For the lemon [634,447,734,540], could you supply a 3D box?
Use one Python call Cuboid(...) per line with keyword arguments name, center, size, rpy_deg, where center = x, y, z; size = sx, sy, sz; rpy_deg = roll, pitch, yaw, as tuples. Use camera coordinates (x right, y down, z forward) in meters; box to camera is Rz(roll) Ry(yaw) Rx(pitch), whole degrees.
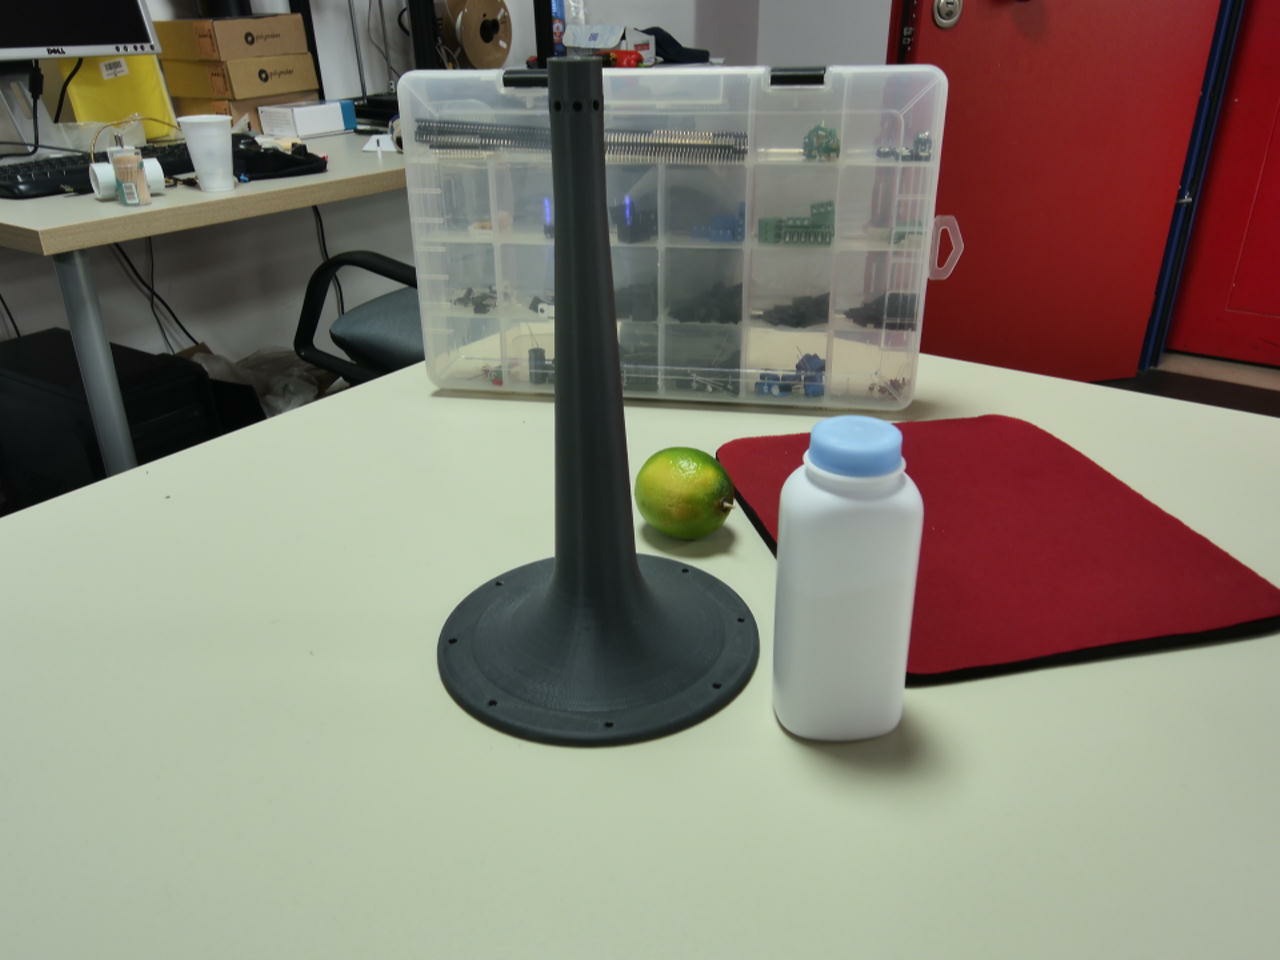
Cuboid(name="lemon", center=(0.024, 0.007, 0.557), size=(0.054, 0.050, 0.055), rpy_deg=(-1, 24, -3))
